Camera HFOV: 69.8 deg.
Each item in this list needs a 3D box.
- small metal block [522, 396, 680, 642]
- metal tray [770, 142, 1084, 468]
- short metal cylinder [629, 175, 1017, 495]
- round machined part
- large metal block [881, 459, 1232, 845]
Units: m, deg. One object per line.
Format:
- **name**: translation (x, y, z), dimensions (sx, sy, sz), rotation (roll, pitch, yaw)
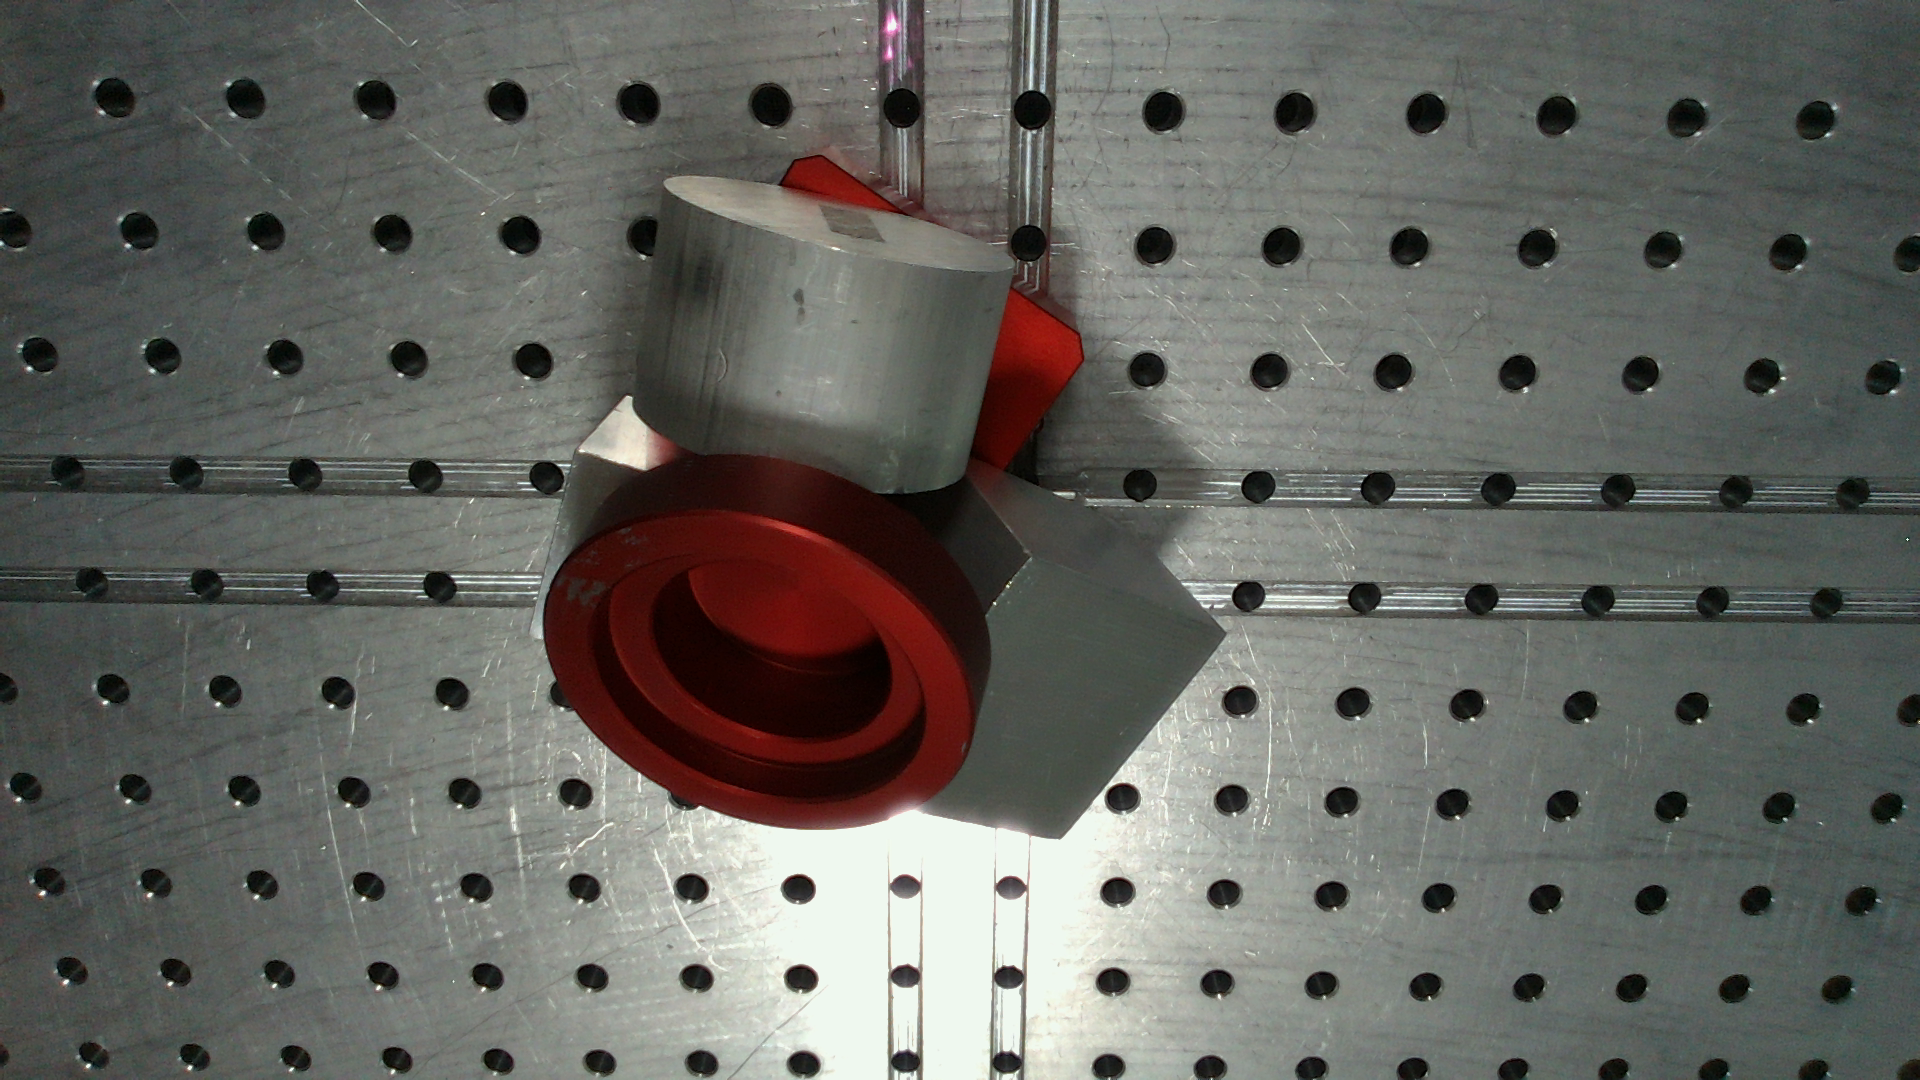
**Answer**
- **small metal block**: translation (-0.085, -0.003, 0.348), dimensions (0.025, 0.050, 0.050), rotation (18, 109, -6)
- **metal tray**: translation (-0.038, -0.031, 0.383), dimensions (0.090, 0.030, 0.130), rotation (33, 107, -11)
- **short metal cylinder**: translation (-0.032, -0.049, 0.317), dimensions (0.080, 0.080, 0.050), rotation (13, 110, -5)
- **round machined part**: translation (-0.041, 0.020, 0.315), dimensions (0.098, 0.042, 0.098), rotation (7, 131, 9)
- **large metal block**: translation (0.012, 0.031, 0.375), dimensions (0.080, 0.050, 0.080), rotation (21, 112, -40)
